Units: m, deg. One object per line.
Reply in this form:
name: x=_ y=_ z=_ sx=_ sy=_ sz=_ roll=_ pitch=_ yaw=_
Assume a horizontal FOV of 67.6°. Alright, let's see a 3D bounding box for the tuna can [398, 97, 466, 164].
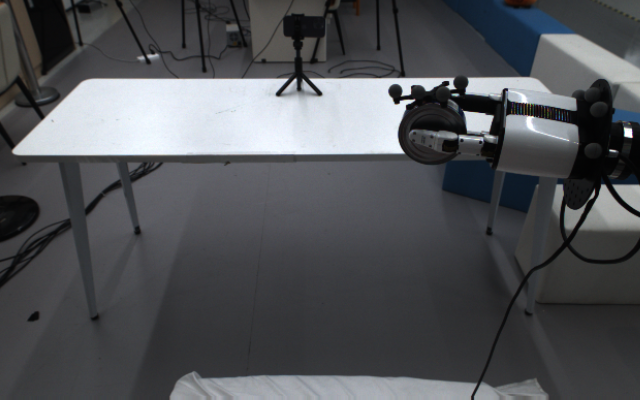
tuna can: x=0.147 y=-0.092 z=0.630 sx=0.085 sy=0.085 sz=0.034 roll=10 pitch=33 yaw=11
